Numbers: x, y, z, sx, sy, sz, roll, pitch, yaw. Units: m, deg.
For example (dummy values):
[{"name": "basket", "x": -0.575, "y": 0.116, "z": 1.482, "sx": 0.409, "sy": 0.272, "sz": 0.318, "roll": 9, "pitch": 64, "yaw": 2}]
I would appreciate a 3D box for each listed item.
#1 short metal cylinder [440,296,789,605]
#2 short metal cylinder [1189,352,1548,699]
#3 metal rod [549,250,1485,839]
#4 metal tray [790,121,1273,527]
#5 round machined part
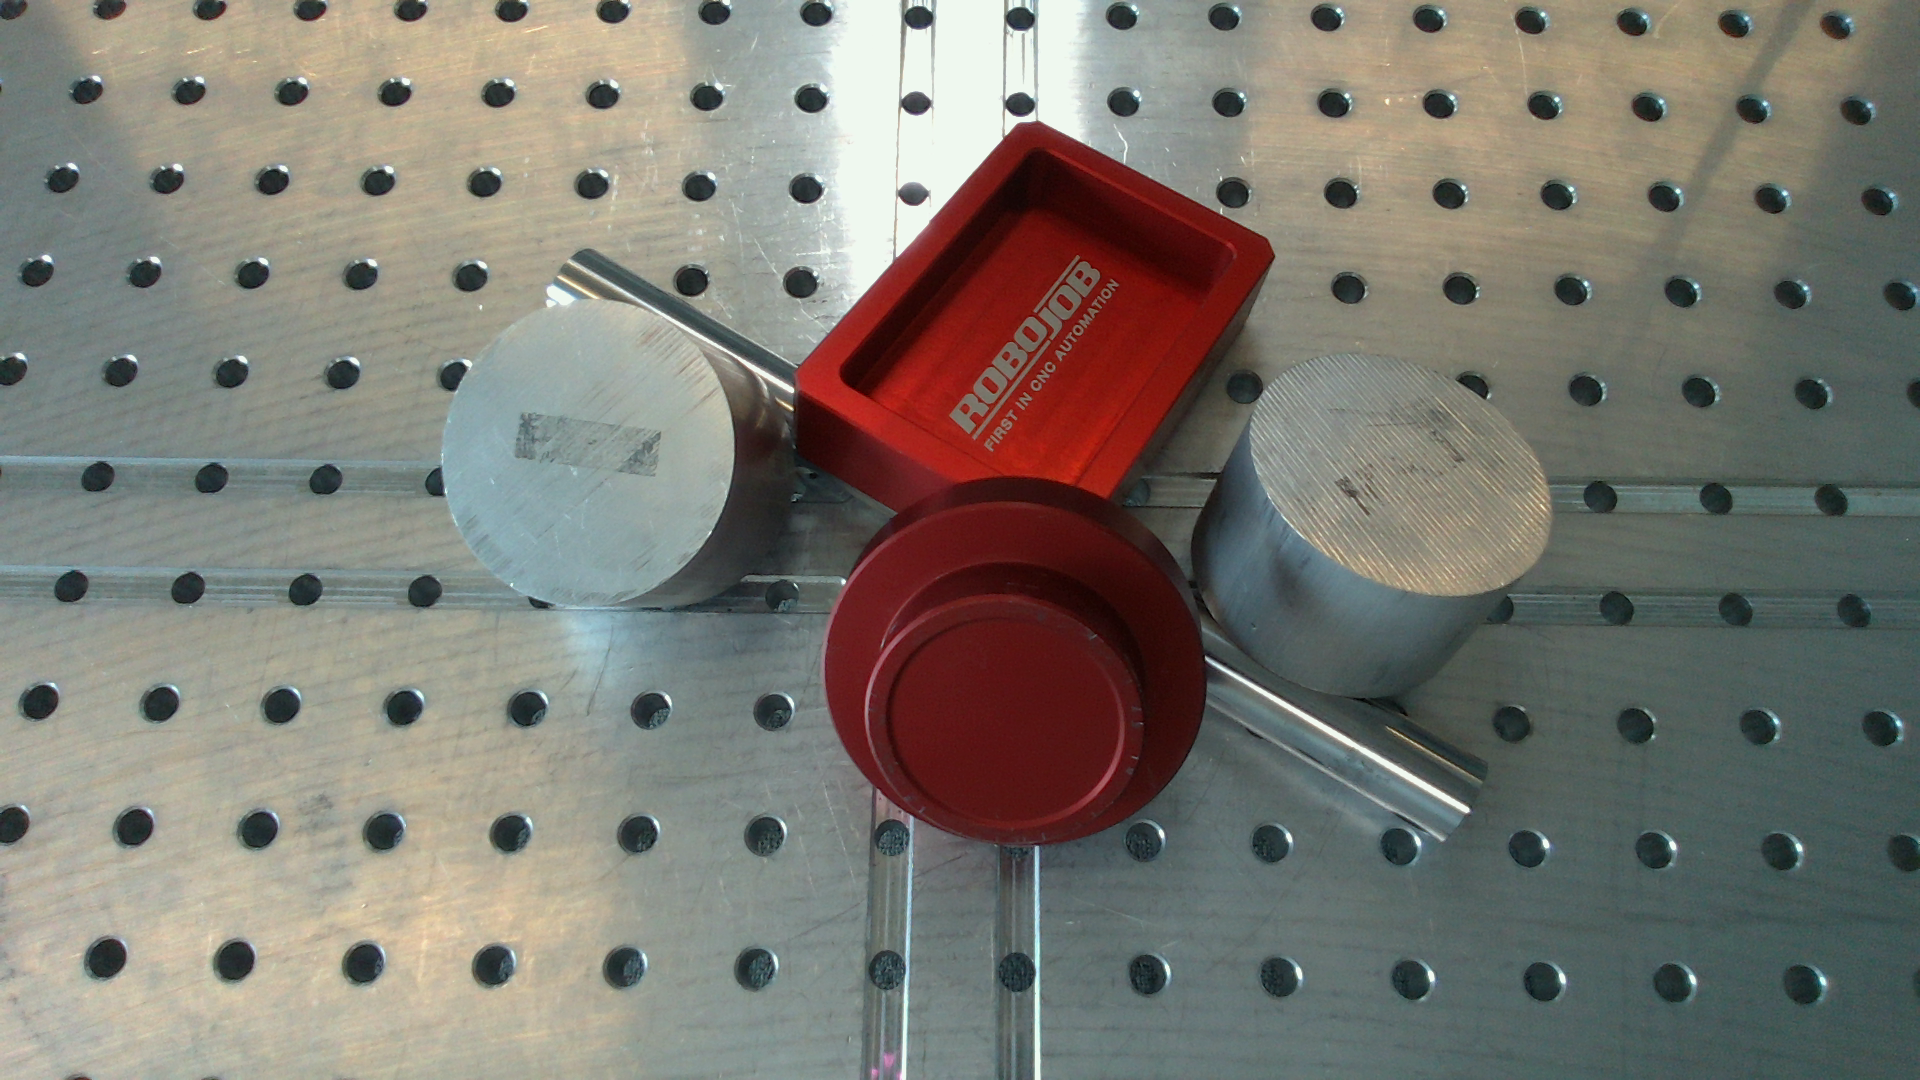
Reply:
[{"name": "short metal cylinder", "x": -0.093, "y": -0.022, "z": 0.379, "sx": 0.080, "sy": 0.050, "sz": 0.080, "roll": -1, "pitch": 87, "yaw": 10}, {"name": "short metal cylinder", "x": 0.108, "y": -0.004, "z": 0.373, "sx": 0.080, "sy": 0.050, "sz": 0.080, "roll": 7, "pitch": 53, "yaw": -8}, {"name": "metal rod", "x": 0.008, "y": -0.004, "z": 0.399, "sx": 0.300, "sy": 0.025, "sz": 0.025, "roll": 30, "pitch": 73, "yaw": 11}, {"name": "metal tray", "x": 0.023, "y": -0.058, "z": 0.400, "sx": 0.090, "sy": 0.030, "sz": 0.130, "roll": 30, "pitch": 59, "yaw": 10}, {"name": "round machined part", "x": 0.012, "y": 0.037, "z": 0.346, "sx": 0.098, "sy": 0.042, "sz": 0.098, "roll": 2, "pitch": 112, "yaw": 5}]
